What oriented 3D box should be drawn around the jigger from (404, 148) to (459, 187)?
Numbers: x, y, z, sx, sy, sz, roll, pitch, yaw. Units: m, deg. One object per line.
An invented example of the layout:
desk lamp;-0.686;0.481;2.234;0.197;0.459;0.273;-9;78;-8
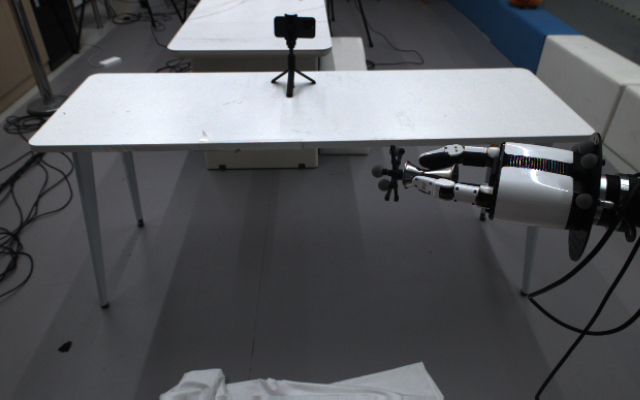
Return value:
jigger;0.159;-0.038;0.668;0.071;0.043;0.043;6;33;27
